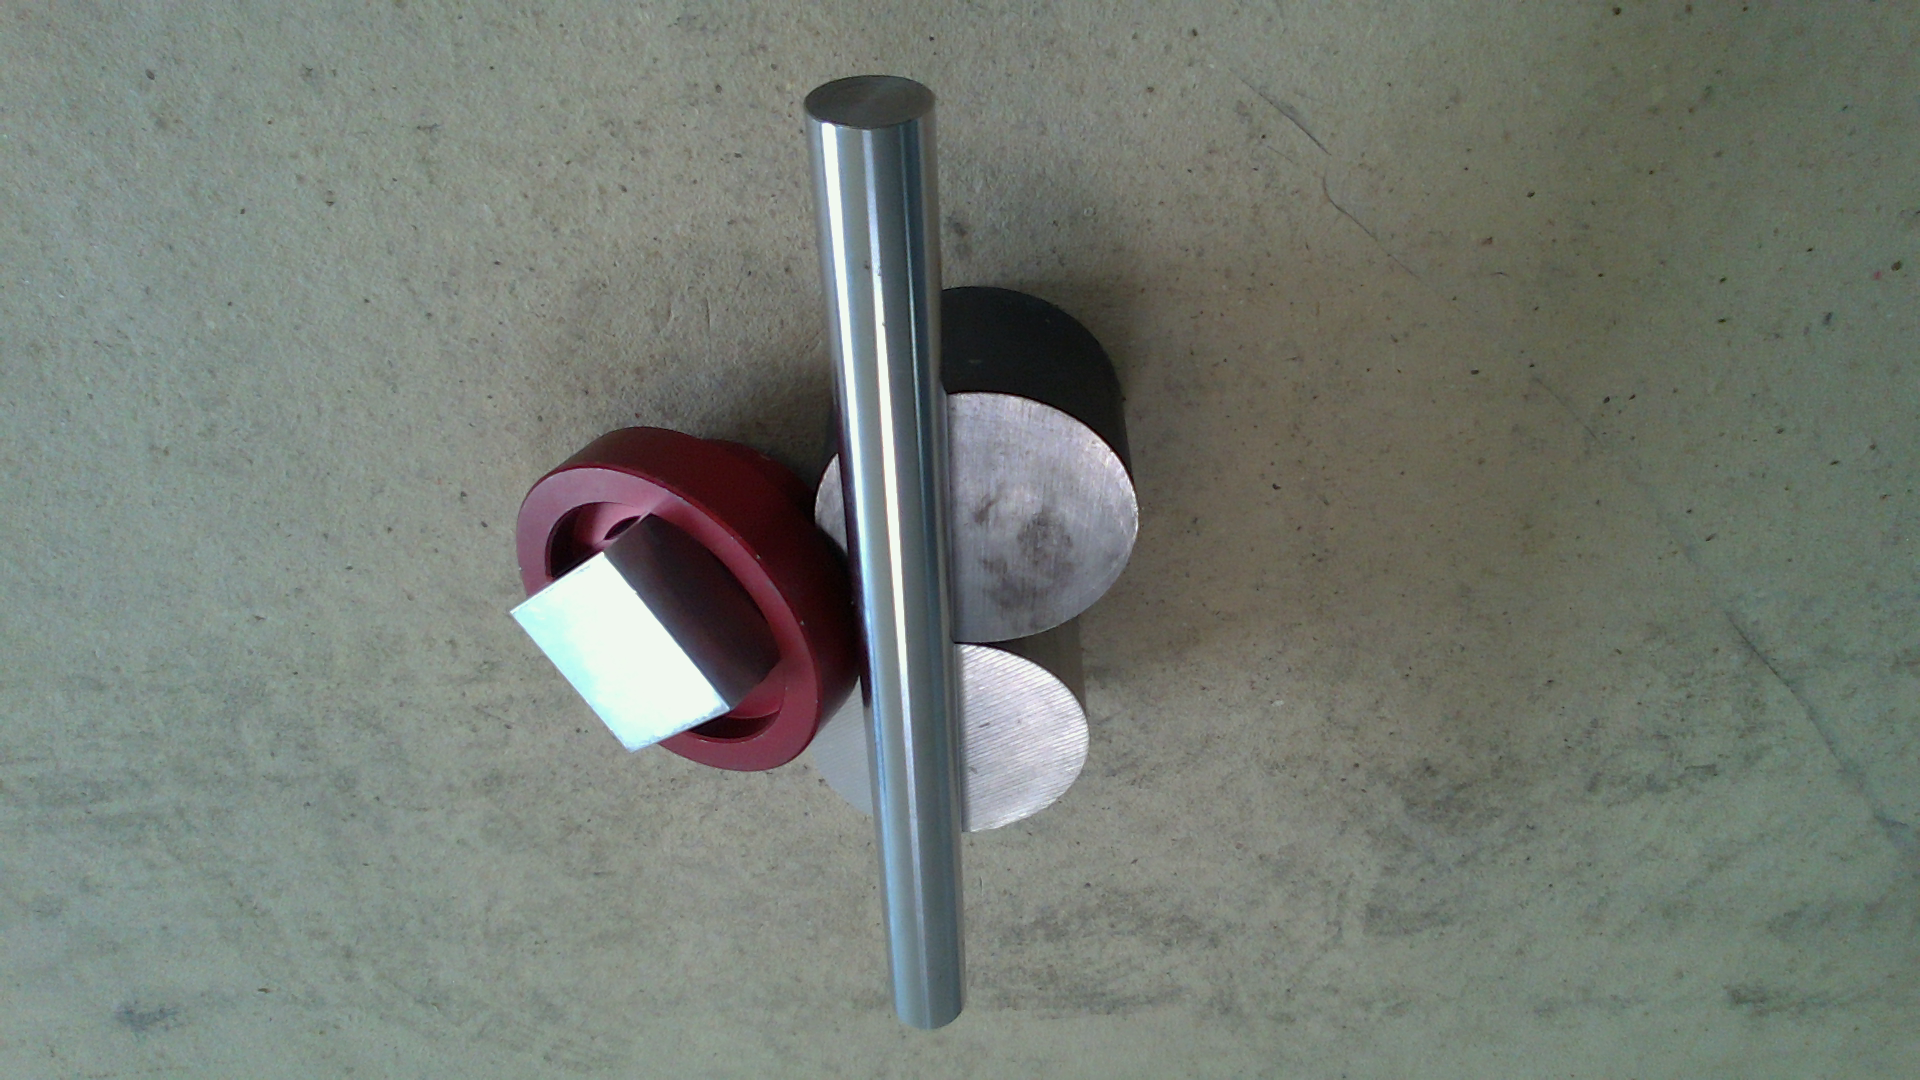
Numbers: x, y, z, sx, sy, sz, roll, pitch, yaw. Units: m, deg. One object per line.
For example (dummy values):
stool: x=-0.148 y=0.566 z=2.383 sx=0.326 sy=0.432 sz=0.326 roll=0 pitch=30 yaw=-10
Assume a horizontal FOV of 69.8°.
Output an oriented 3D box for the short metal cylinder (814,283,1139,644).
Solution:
short metal cylinder: x=0.004 y=-0.019 z=0.358 sx=0.080 sy=0.050 sz=0.080 roll=0 pitch=130 yaw=0

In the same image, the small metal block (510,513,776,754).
small metal block: x=-0.081 y=0.023 z=0.357 sx=0.050 sy=0.025 sz=0.050 roll=-25 pitch=106 yaw=43

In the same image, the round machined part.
round machined part: x=-0.068 y=0.012 z=0.372 sx=0.098 sy=0.042 sz=0.098 roll=18 pitch=131 yaw=23

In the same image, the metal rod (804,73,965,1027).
metal rod: x=-0.013 y=0.033 z=0.353 sx=0.025 sy=0.025 sz=0.300 roll=-1 pitch=130 yaw=1

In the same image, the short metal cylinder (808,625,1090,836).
short metal cylinder: x=-0.003 y=0.043 z=0.410 sx=0.080 sy=0.050 sz=0.080 roll=0 pitch=129 yaw=0
